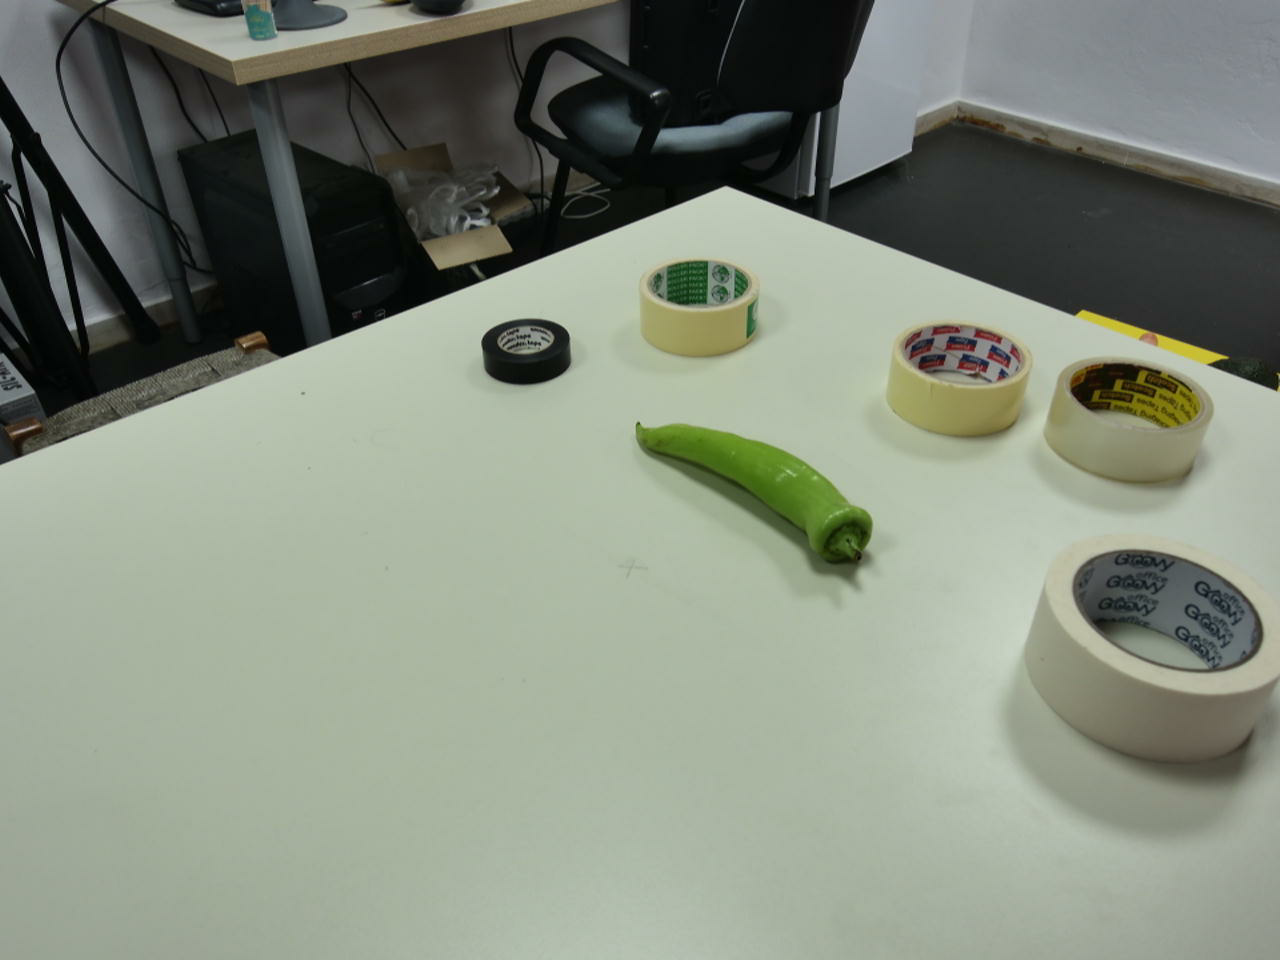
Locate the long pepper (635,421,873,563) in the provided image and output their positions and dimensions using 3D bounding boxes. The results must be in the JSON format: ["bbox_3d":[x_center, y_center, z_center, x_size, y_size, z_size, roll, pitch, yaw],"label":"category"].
[{"bbox_3d":[0.068,-0.006,0.608,0.046,0.038,0.197,-26,43,-30],"label":"long pepper"}]
